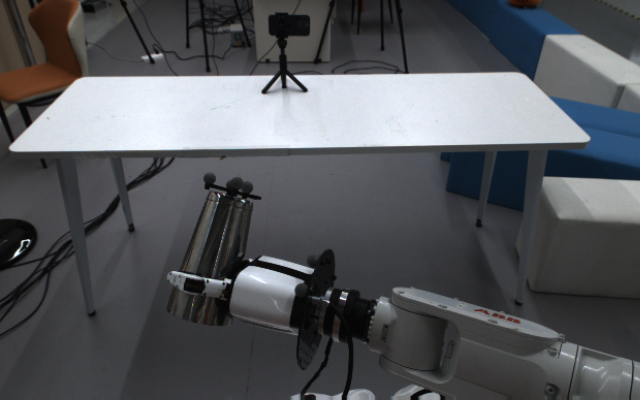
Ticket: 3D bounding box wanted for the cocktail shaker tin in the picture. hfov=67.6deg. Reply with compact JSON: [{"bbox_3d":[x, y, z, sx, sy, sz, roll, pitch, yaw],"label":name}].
[{"bbox_3d":[-0.146,0.079,0.675,0.093,0.170,0.093,14,-4,1],"label":"cocktail shaker tin"}]
